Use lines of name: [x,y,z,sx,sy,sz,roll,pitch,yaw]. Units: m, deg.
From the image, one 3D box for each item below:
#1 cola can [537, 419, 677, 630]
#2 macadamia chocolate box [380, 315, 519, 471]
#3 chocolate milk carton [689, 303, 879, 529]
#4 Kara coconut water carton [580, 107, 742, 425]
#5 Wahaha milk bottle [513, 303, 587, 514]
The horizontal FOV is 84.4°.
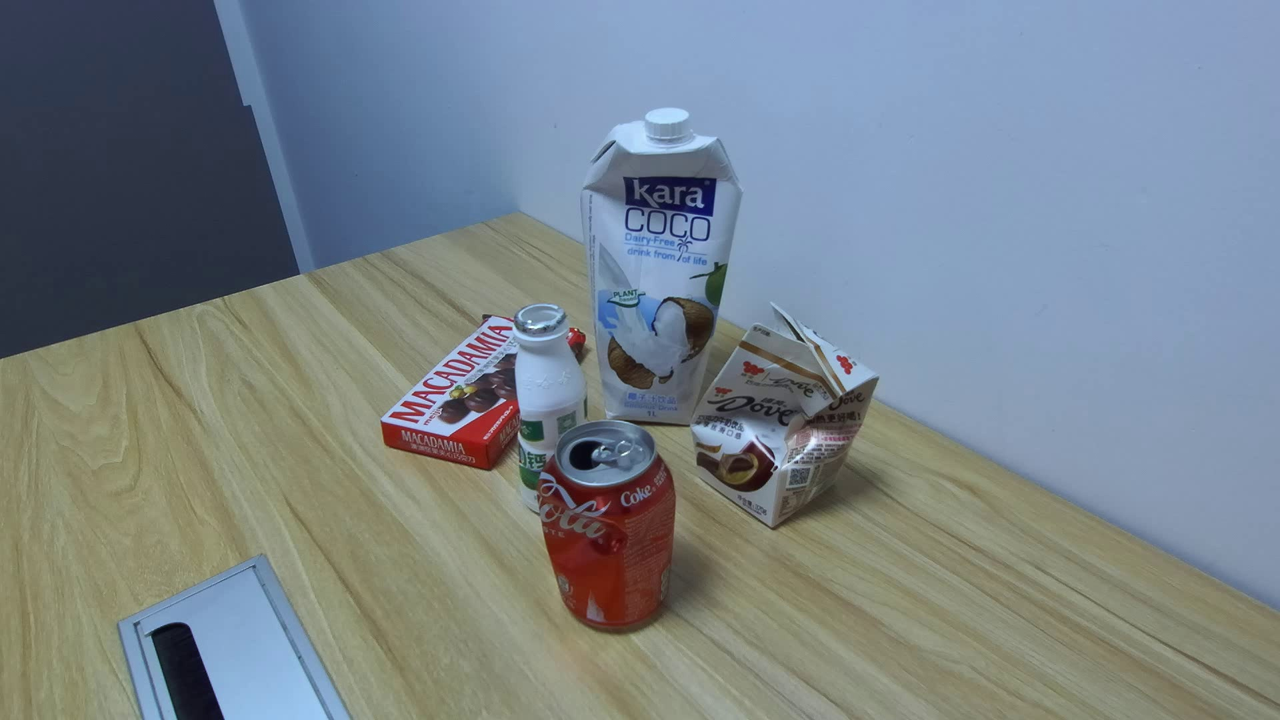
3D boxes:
cola can: [-0.016,0.093,0.401,0.065,0.117,0.067,27,42,37]
macadamia chocolate box: [-0.125,0.017,0.601,0.105,0.028,0.183,10,34,15]
chocolate milk carton: [0.093,0.035,0.462,0.077,0.155,0.089,-33,59,-32]
Kara coconut water carton: [0.012,-0.064,0.526,0.115,0.238,0.069,5,32,3]
Wahaha milk bottle: [-0.060,0.034,0.462,0.056,0.148,0.056,0,33,0]
